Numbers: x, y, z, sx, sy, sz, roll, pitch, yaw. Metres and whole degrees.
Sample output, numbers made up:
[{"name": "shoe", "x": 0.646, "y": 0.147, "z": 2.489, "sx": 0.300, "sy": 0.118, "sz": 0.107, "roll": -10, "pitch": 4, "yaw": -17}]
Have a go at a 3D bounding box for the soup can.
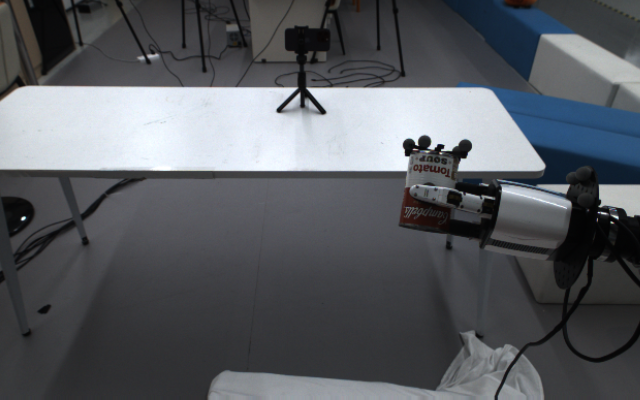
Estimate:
[{"name": "soup can", "x": 0.148, "y": -0.012, "z": 0.655, "sx": 0.067, "sy": 0.101, "sz": 0.067, "roll": 9, "pitch": -5, "yaw": 1}]
